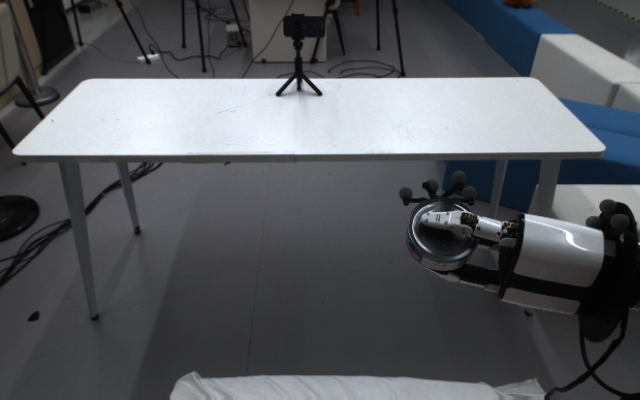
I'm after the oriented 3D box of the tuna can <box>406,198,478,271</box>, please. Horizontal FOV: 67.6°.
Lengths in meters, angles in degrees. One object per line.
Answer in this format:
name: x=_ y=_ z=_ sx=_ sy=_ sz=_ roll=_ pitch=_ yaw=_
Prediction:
tuna can: x=0.149 y=0.040 z=0.587 sx=0.085 sy=0.034 sz=0.085 roll=-2 pitch=58 yaw=3
